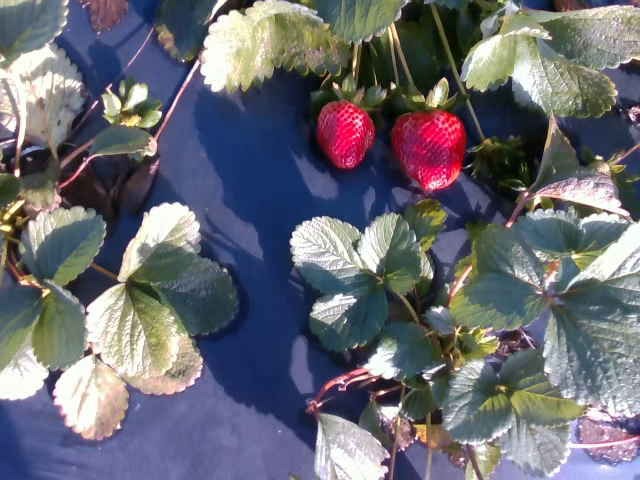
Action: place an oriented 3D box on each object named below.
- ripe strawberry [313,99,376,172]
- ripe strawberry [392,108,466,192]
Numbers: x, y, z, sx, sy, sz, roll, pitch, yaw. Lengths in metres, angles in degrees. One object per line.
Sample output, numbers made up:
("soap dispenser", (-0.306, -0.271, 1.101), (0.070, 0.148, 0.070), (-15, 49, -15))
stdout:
("ripe strawberry", (0.014, -0.061, 0.387), (0.043, 0.052, 0.036), (-18, -26, 21))
("ripe strawberry", (0.069, -0.053, 0.390), (0.052, 0.058, 0.046), (-9, -25, 17))
